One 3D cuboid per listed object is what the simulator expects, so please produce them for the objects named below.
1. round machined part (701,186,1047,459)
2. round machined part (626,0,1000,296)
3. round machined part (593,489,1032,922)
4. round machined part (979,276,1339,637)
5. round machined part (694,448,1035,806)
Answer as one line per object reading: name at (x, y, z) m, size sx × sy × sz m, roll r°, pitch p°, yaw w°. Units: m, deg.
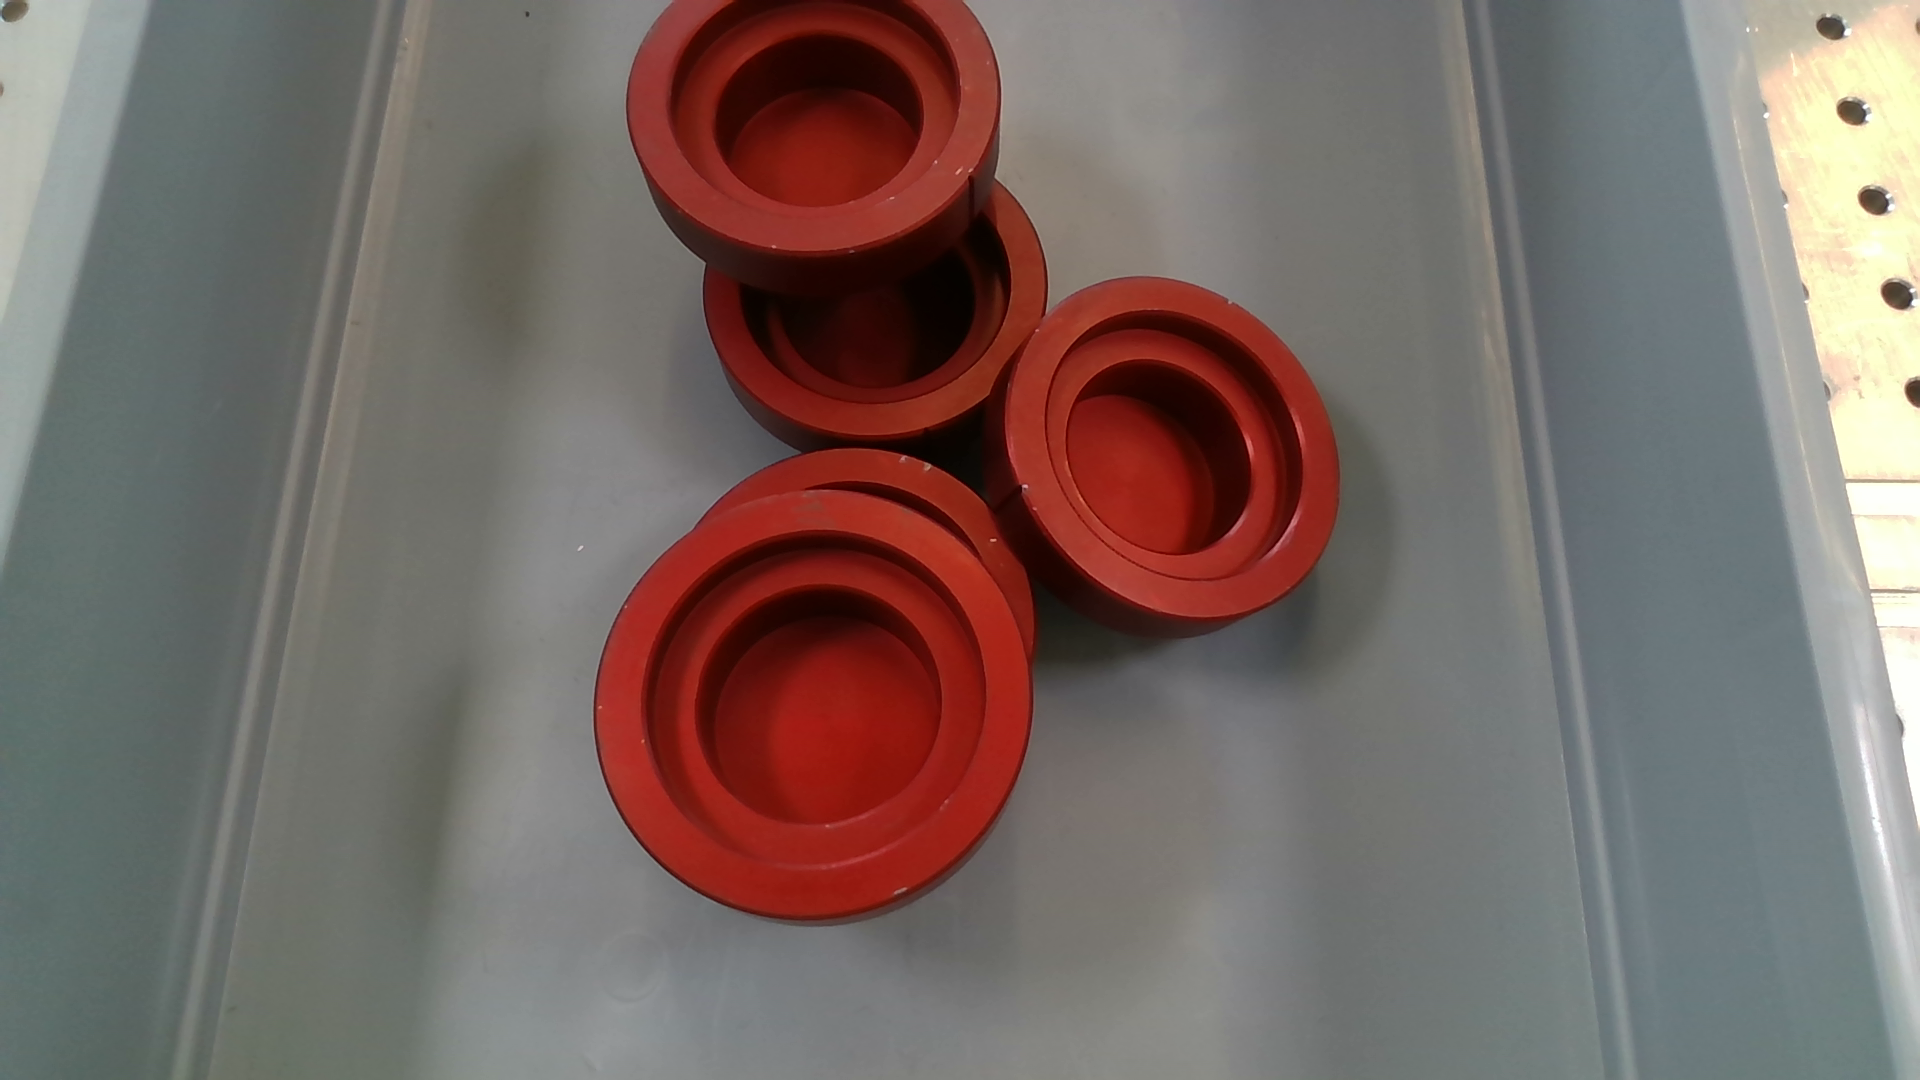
round machined part at (-0.024, -0.066, 0.409) m, size 0.098 × 0.042 × 0.098 m, roll 0°, pitch 70°, yaw 0°
round machined part at (-0.038, -0.110, 0.380) m, size 0.098 × 0.042 × 0.098 m, roll 0°, pitch 70°, yaw 0°
round machined part at (-0.033, 0.041, 0.327) m, size 0.098 × 0.042 × 0.098 m, roll 0°, pitch 70°, yaw 0°
round machined part at (0.051, -0.020, 0.382) m, size 0.098 × 0.042 × 0.098 m, roll 6°, pitch 71°, yaw -17°
round machined part at (-0.030, 0.028, 0.376) m, size 0.098 × 0.042 × 0.098 m, roll 0°, pitch 70°, yaw 0°
